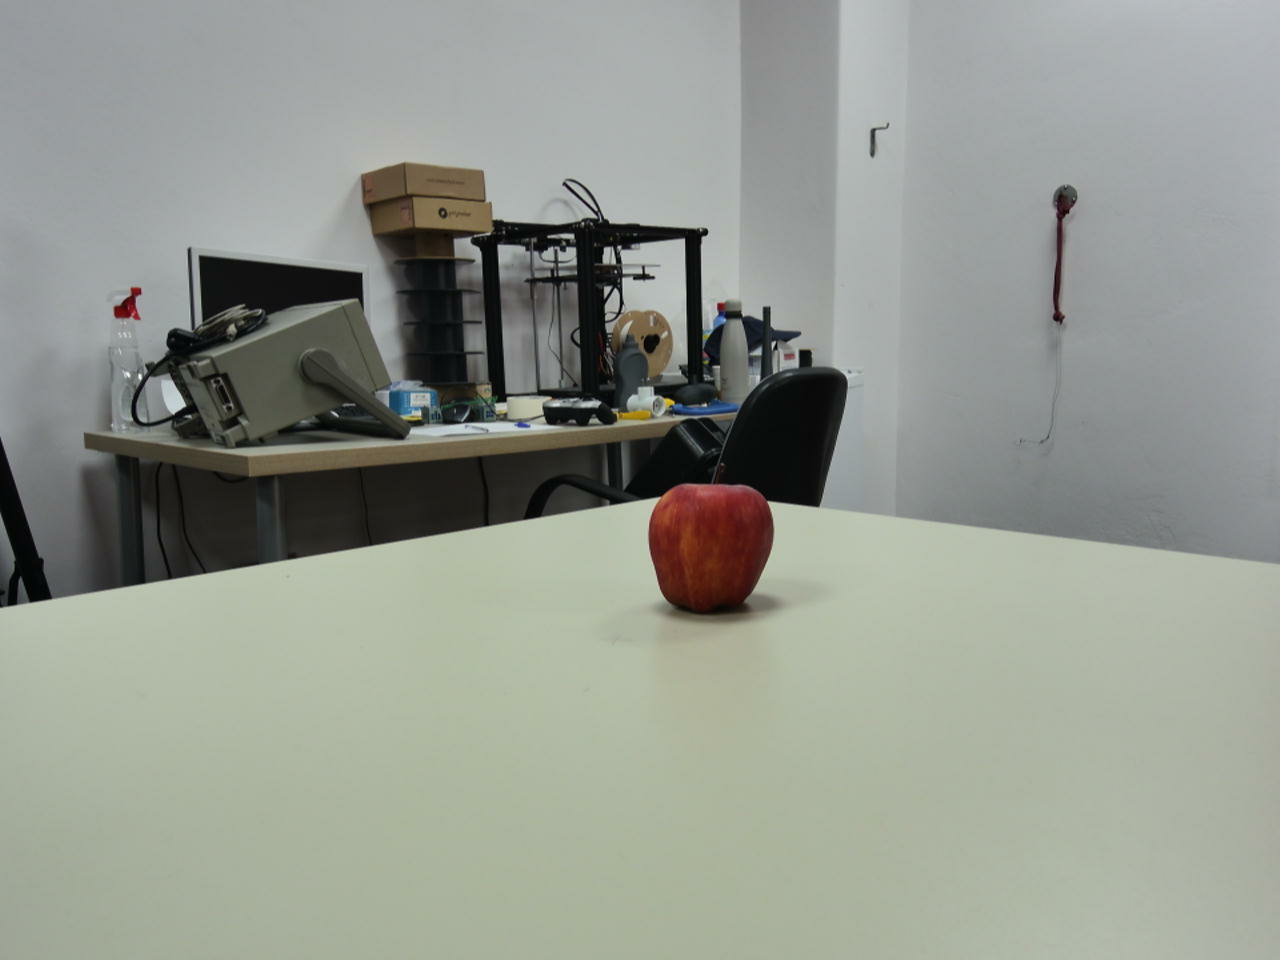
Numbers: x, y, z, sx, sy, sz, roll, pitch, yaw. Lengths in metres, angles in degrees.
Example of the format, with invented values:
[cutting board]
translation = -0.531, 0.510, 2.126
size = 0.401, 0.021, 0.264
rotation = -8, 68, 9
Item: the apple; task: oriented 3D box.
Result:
[apple]
translation = 0.046, 0.035, 0.636
size = 0.083, 0.090, 0.083
rotation = 1, 6, 0
